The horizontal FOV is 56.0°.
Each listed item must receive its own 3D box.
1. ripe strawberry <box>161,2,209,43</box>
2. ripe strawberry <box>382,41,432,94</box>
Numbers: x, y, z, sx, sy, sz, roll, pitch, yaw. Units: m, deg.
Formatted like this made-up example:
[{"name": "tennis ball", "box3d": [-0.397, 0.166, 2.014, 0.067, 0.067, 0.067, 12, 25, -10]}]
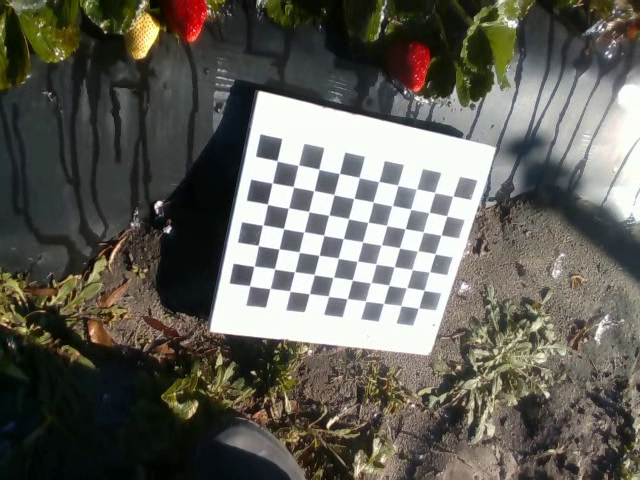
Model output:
[{"name": "ripe strawberry", "box3d": [-0.122, -0.201, 0.553, 0.042, 0.061, 0.046, -5, -22, -15]}, {"name": "ripe strawberry", "box3d": [0.096, -0.177, 0.618, 0.048, 0.061, 0.044, 2, -14, -17]}]
